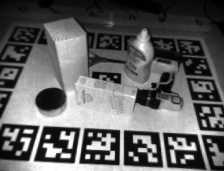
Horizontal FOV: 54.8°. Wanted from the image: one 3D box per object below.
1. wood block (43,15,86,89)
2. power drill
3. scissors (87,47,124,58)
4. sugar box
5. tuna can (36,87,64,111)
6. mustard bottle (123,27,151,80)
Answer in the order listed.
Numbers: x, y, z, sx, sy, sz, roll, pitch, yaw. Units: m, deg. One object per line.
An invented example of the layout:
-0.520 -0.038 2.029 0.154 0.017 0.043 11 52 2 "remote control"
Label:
-0.138 -0.094 0.659 0.091 0.207 0.089 -21 57 -18 "wood block"
0.124 -0.028 0.714 0.184 0.057 0.187 14 59 6 "power drill"
-0.058 -0.115 0.791 0.203 0.016 0.087 5 48 -1 "scissors"
-0.020 0.022 0.642 0.176 0.093 0.045 14 49 3 "sugar box"
-0.187 0.033 0.648 0.086 0.034 0.085 3 53 -3 "tuna can"
0.082 -0.107 0.697 0.059 0.192 0.095 -32 61 -24 "mustard bottle"
